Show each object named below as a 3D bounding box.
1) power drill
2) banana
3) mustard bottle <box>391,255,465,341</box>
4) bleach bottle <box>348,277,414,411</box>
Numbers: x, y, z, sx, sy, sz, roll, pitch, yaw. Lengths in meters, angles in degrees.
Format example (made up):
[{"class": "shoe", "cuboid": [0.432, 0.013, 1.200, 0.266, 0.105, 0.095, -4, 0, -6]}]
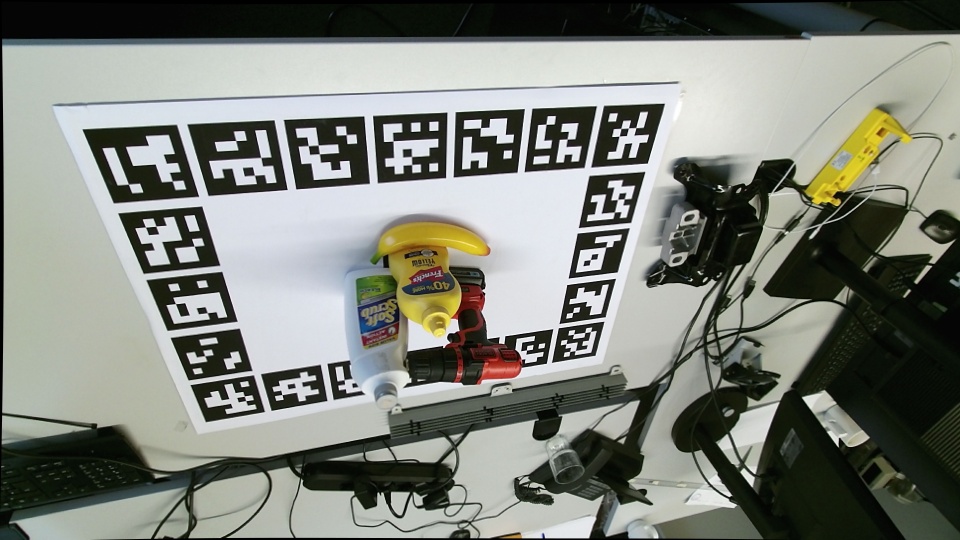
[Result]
[{"class": "power drill", "cuboid": [-0.034, 0.112, 0.841, 0.185, 0.186, 0.057, 5, 123, -20]}, {"class": "banana", "cuboid": [-0.077, -0.027, 0.862, 0.198, 0.038, 0.074, -4, 124, -19]}, {"class": "mustard bottle", "cuboid": [-0.075, 0.047, 0.807, 0.096, 0.190, 0.058, -6, 126, -14]}, {"class": "bleach bottle", "cuboid": [-0.140, 0.115, 0.804, 0.103, 0.249, 0.068, -4, 131, -16]}]
